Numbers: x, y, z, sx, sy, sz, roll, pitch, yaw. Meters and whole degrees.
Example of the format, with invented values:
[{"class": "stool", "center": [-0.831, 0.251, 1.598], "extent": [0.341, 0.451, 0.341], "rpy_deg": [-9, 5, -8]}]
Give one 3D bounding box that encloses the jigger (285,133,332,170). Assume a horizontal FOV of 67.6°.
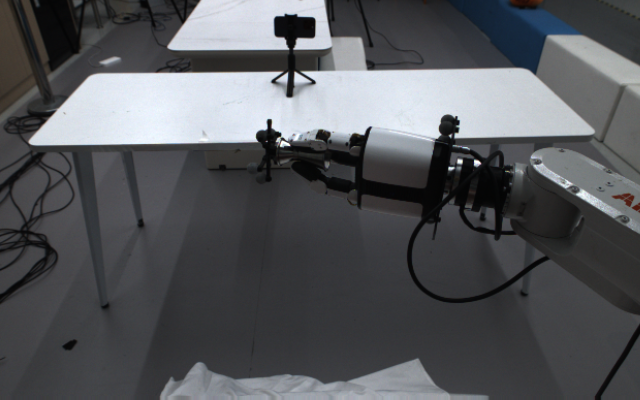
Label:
[{"class": "jigger", "center": [-0.015, -0.068, 0.666], "extent": [0.071, 0.043, 0.043], "rpy_deg": [5, 35, 12]}]
